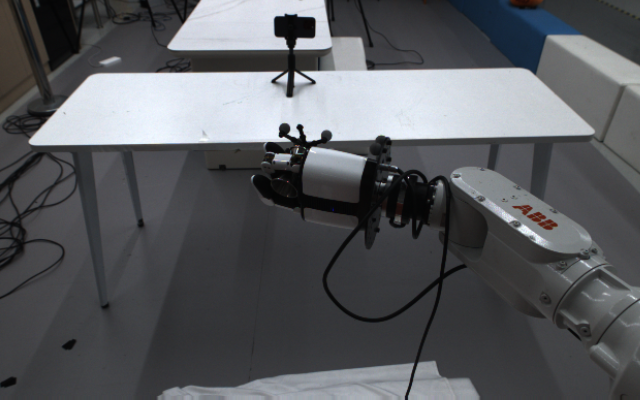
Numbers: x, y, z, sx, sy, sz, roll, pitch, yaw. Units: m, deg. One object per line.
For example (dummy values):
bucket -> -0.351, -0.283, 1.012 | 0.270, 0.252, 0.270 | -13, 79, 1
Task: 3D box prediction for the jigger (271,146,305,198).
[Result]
jigger -> -0.038, -0.043, 0.715 | 0.043, 0.043, 0.071 | 13, 58, 16
